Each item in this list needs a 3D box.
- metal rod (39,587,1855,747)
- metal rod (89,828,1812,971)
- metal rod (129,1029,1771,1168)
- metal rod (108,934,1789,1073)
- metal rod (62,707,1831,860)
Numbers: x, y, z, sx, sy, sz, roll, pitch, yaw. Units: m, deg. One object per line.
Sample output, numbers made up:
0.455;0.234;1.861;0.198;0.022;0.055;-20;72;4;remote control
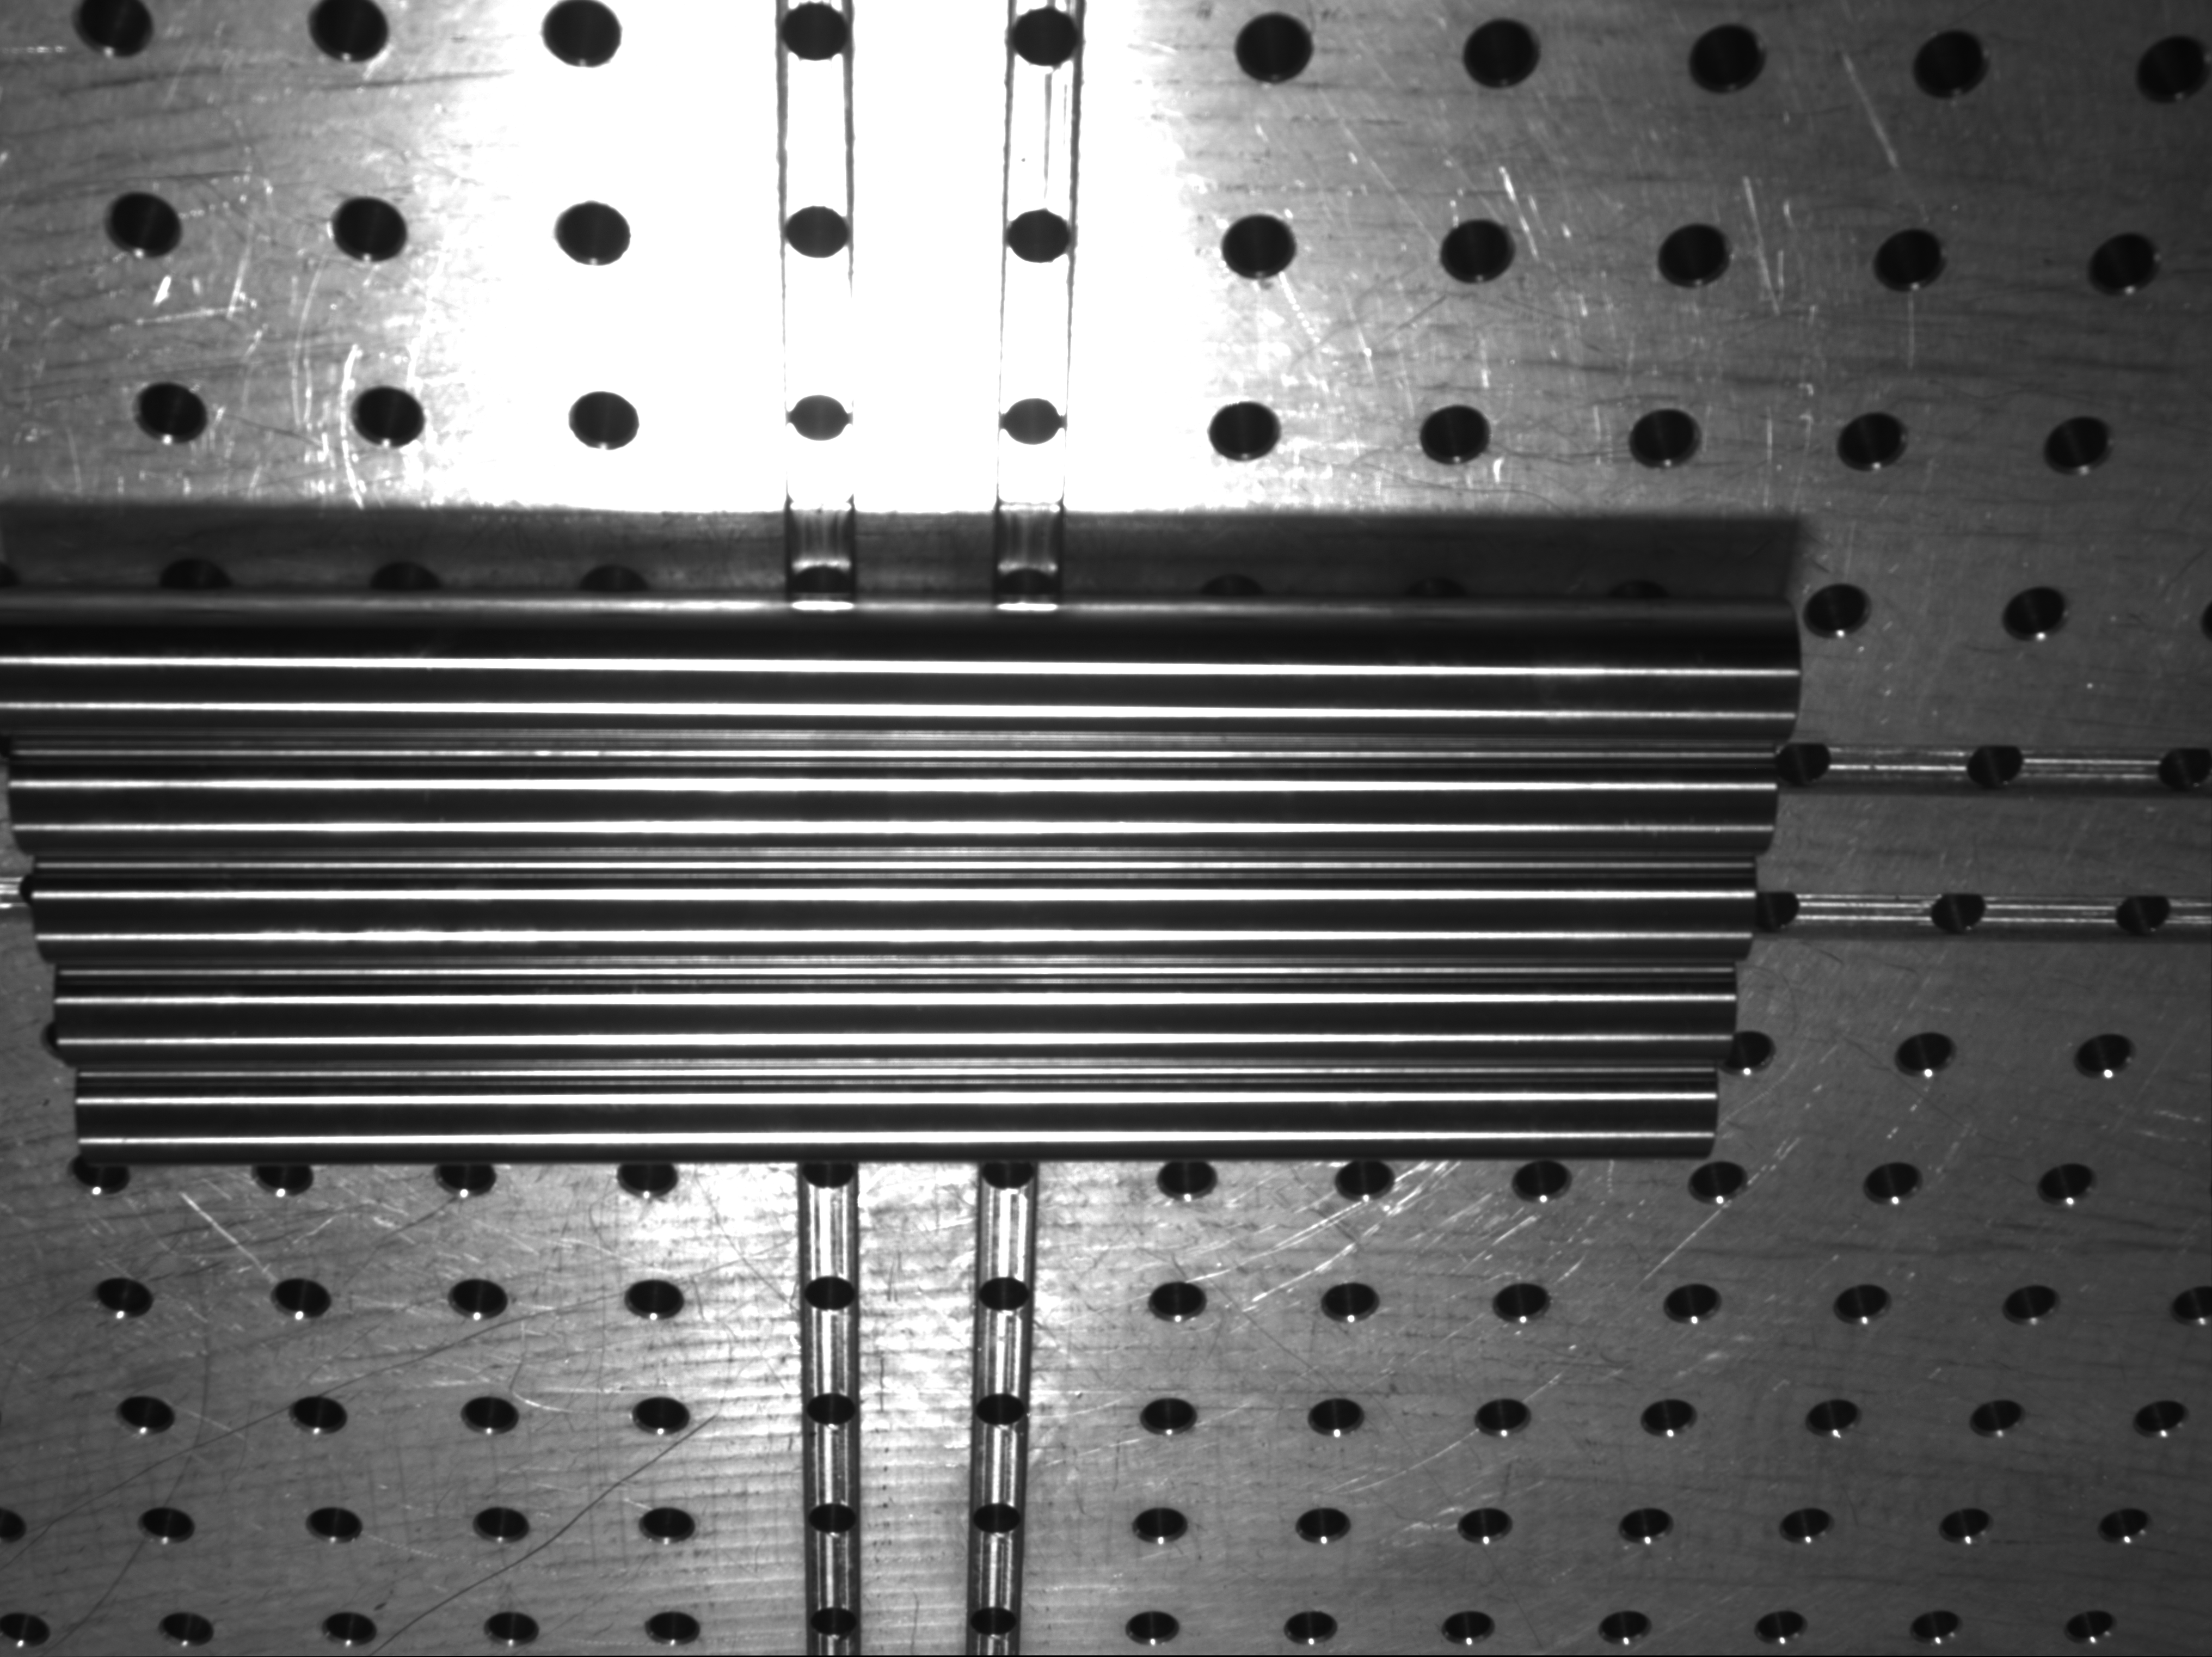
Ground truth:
-0.025;-0.027;0.618;0.300;0.025;0.025;0;130;-2;metal rod
-0.026;0.012;0.650;0.300;0.025;0.025;0;130;-2;metal rod
-0.028;0.050;0.682;0.300;0.025;0.025;0;130;-2;metal rod
-0.027;0.032;0.667;0.300;0.025;0.025;0;130;-2;metal rod
-0.026;-0.008;0.634;0.300;0.025;0.025;0;130;-2;metal rod
